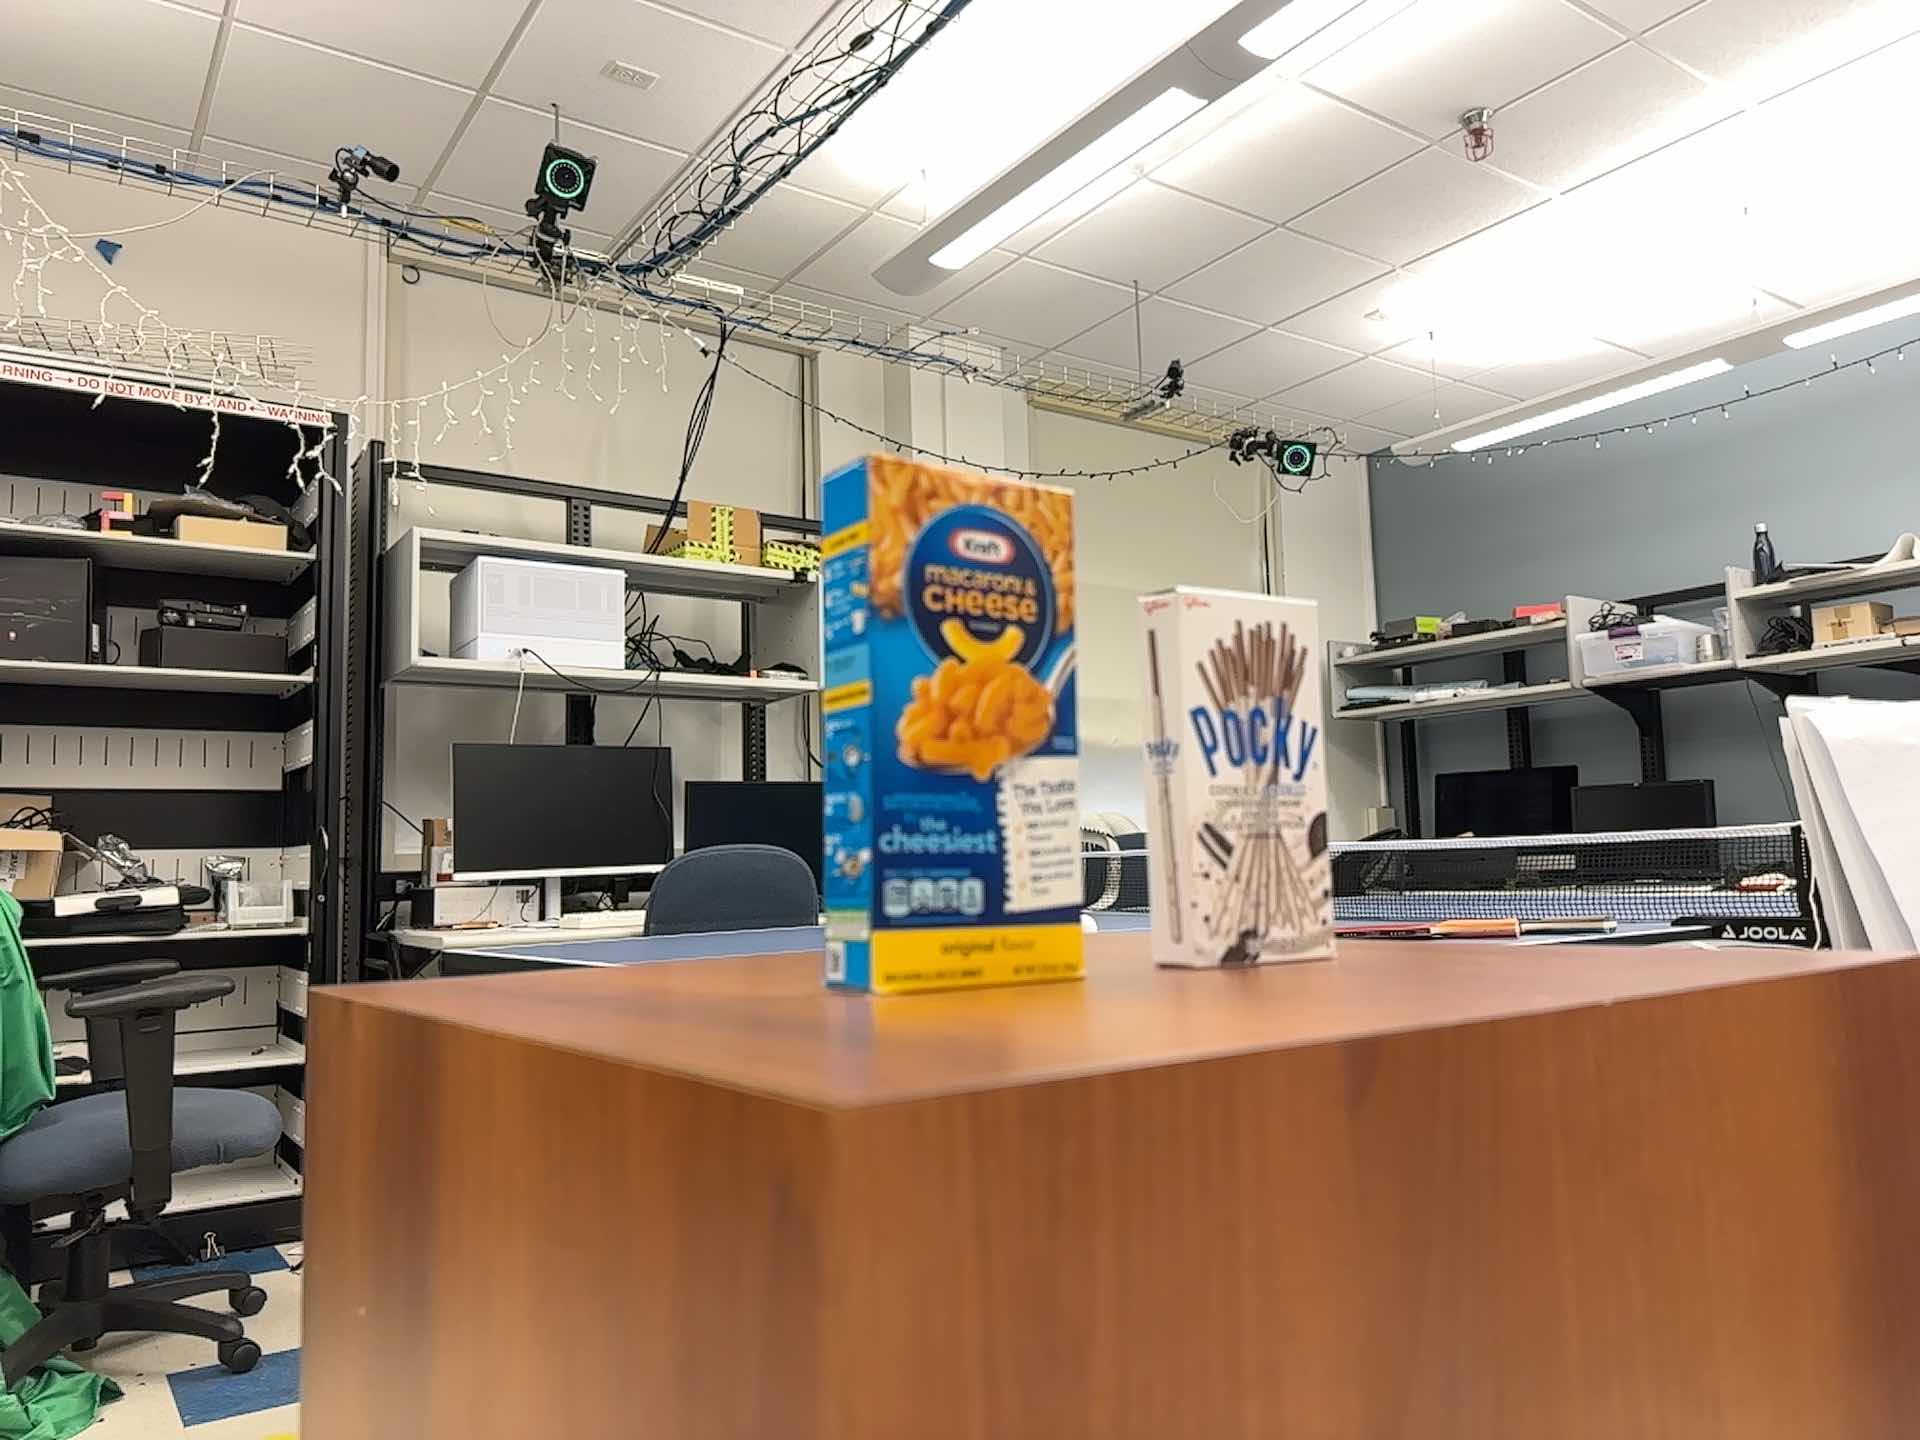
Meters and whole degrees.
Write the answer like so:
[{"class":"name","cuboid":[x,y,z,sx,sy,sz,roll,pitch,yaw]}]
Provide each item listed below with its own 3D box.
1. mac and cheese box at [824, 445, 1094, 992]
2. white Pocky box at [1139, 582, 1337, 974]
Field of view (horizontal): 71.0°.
[{"class":"mac and cheese box","cuboid":[-0.001,0.001,0.483,0.088,0.181,0.035,3,-8,-31]},{"class":"white Pocky box","cuboid":[0.114,0.024,0.549,0.084,0.154,0.028,3,-7,-28]}]
